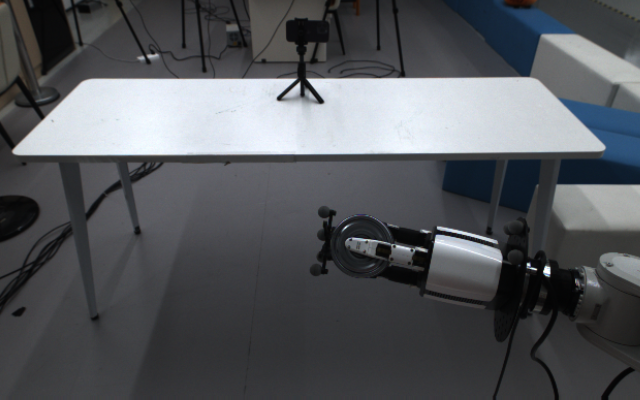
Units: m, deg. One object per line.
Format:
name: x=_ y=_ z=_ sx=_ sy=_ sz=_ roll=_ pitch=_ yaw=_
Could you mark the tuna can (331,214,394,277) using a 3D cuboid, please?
tuna can: x=0.061 y=0.065 z=0.648 sx=0.085 sy=0.085 sz=0.034 roll=9 pitch=-6 yaw=10
